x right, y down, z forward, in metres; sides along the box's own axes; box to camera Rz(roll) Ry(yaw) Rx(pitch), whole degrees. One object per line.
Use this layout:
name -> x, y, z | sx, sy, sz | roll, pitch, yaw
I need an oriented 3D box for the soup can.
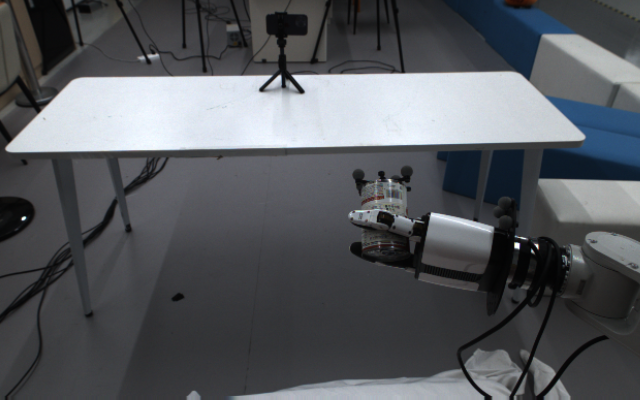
soup can -> 0.092, 0.029, 0.682 | 0.067, 0.067, 0.101 | 2, 68, -1
